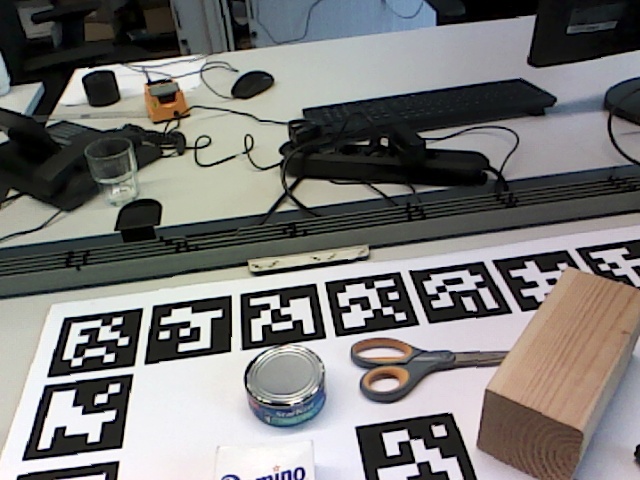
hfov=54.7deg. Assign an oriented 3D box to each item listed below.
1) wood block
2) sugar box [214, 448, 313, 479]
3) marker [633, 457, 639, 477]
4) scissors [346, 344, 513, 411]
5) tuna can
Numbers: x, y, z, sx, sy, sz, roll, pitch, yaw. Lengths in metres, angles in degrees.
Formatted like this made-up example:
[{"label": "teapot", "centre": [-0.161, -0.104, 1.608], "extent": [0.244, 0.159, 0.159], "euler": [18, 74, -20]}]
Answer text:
[{"label": "wood block", "centre": [0.250, 0.142, 0.618], "extent": [0.090, 0.090, 0.205], "euler": [21, 44, 33]}, {"label": "sugar box", "centre": [-0.050, 0.268, 0.531], "extent": [0.093, 0.045, 0.177], "euler": [-4, 37, 1]}, {"label": "marker", "centre": [0.304, 0.241, 0.529], "extent": [0.019, 0.019, 0.121], "euler": [-7, 39, -1]}, {"label": "scissors", "centre": [0.130, 0.147, 0.687], "extent": [0.203, 0.016, 0.088], "euler": [-5, 37, 6]}, {"label": "tuna can", "centre": [-0.042, 0.165, 0.669], "extent": [0.086, 0.033, 0.086], "euler": [-4, 38, 3]}]
